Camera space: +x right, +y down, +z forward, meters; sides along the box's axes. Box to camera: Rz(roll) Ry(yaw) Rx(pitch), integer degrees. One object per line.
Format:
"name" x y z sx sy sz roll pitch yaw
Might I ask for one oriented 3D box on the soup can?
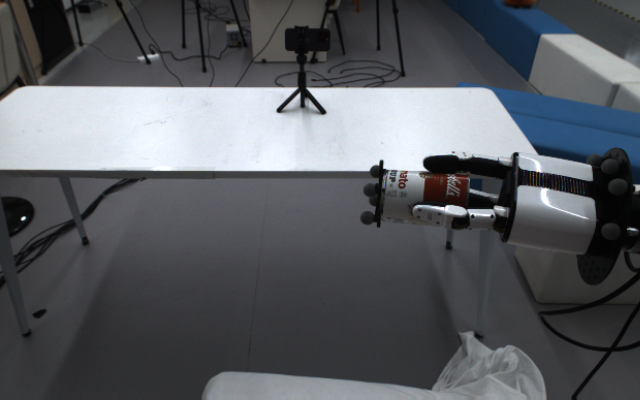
"soup can" 0.133 -0.003 0.604 0.101 0.067 0.067 5 35 13
